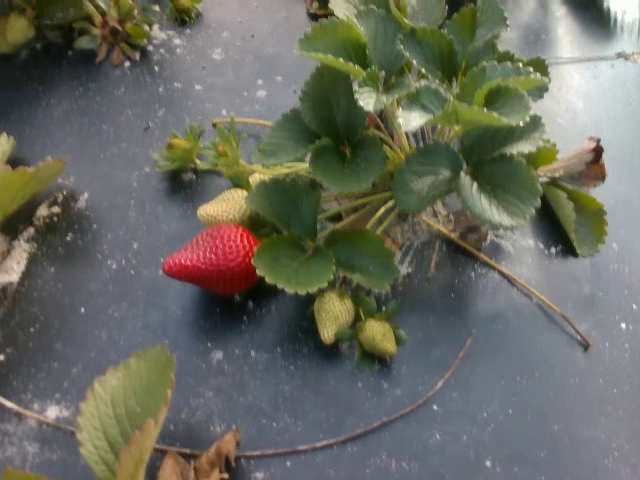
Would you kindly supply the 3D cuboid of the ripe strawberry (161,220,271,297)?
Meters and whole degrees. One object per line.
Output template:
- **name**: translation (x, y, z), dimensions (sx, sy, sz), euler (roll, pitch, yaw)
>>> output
- **ripe strawberry**: translation (-0.067, 0.011, 0.344), dimensions (0.055, 0.048, 0.051), euler (-6, 10, -36)
